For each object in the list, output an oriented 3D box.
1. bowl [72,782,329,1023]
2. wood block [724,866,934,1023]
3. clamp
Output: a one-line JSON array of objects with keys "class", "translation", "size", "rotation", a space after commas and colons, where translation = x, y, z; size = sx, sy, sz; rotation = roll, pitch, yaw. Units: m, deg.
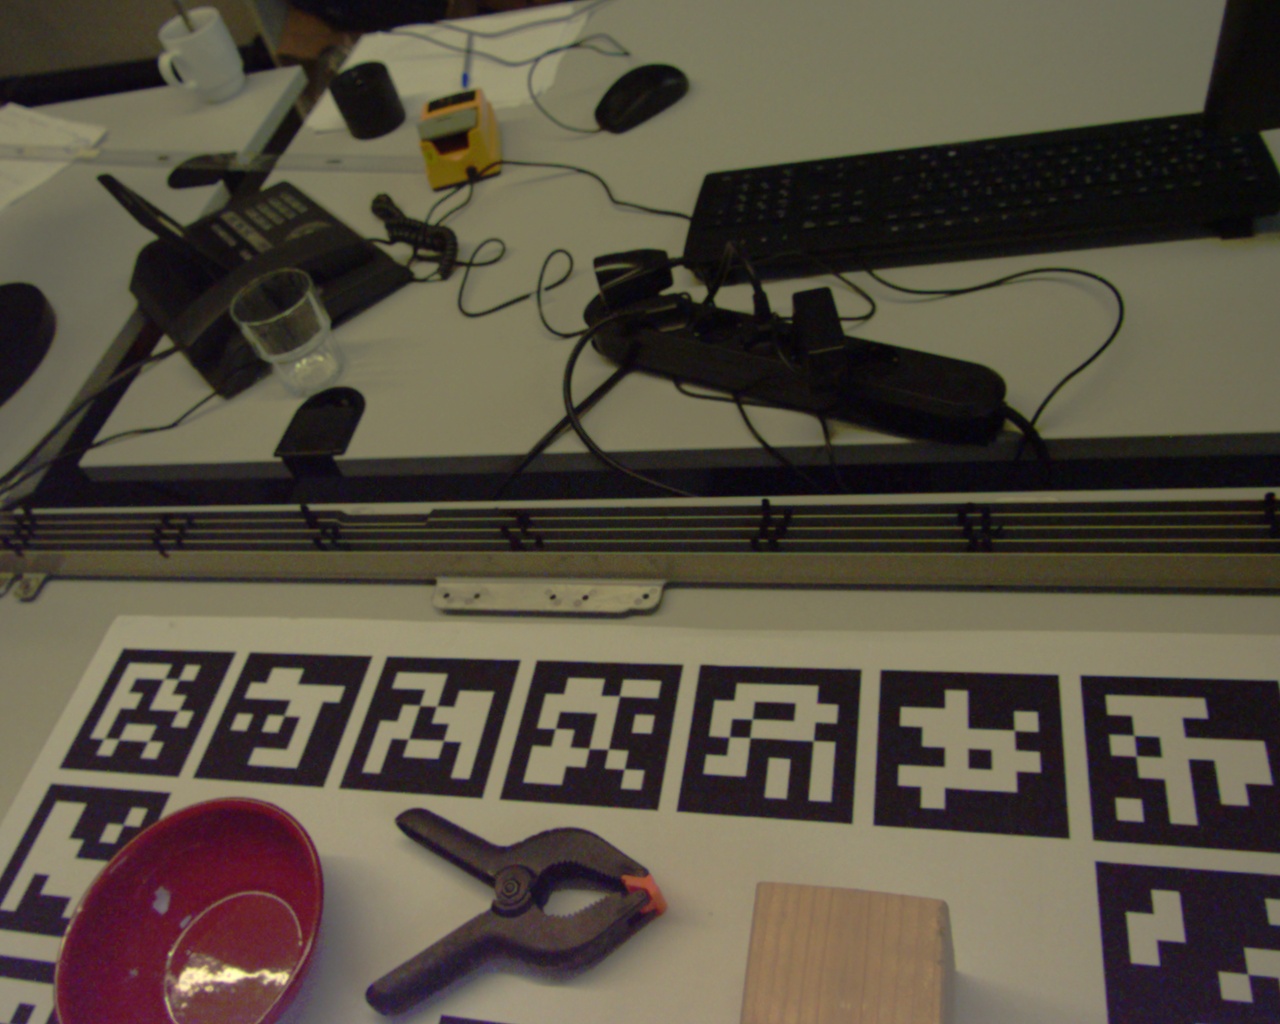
[{"class": "bowl", "translation": [-0.255, 0.250, 0.691], "size": [0.162, 0.055, 0.162], "rotation": [-9, 51, 10]}, {"class": "wood block", "translation": [0.083, 0.282, 0.518], "size": [0.090, 0.090, 0.206], "rotation": [2, 51, 18]}, {"class": "clamp", "translation": [-0.090, 0.223, 0.675], "size": [0.166, 0.036, 0.122], "rotation": [-8, 48, 9]}]
